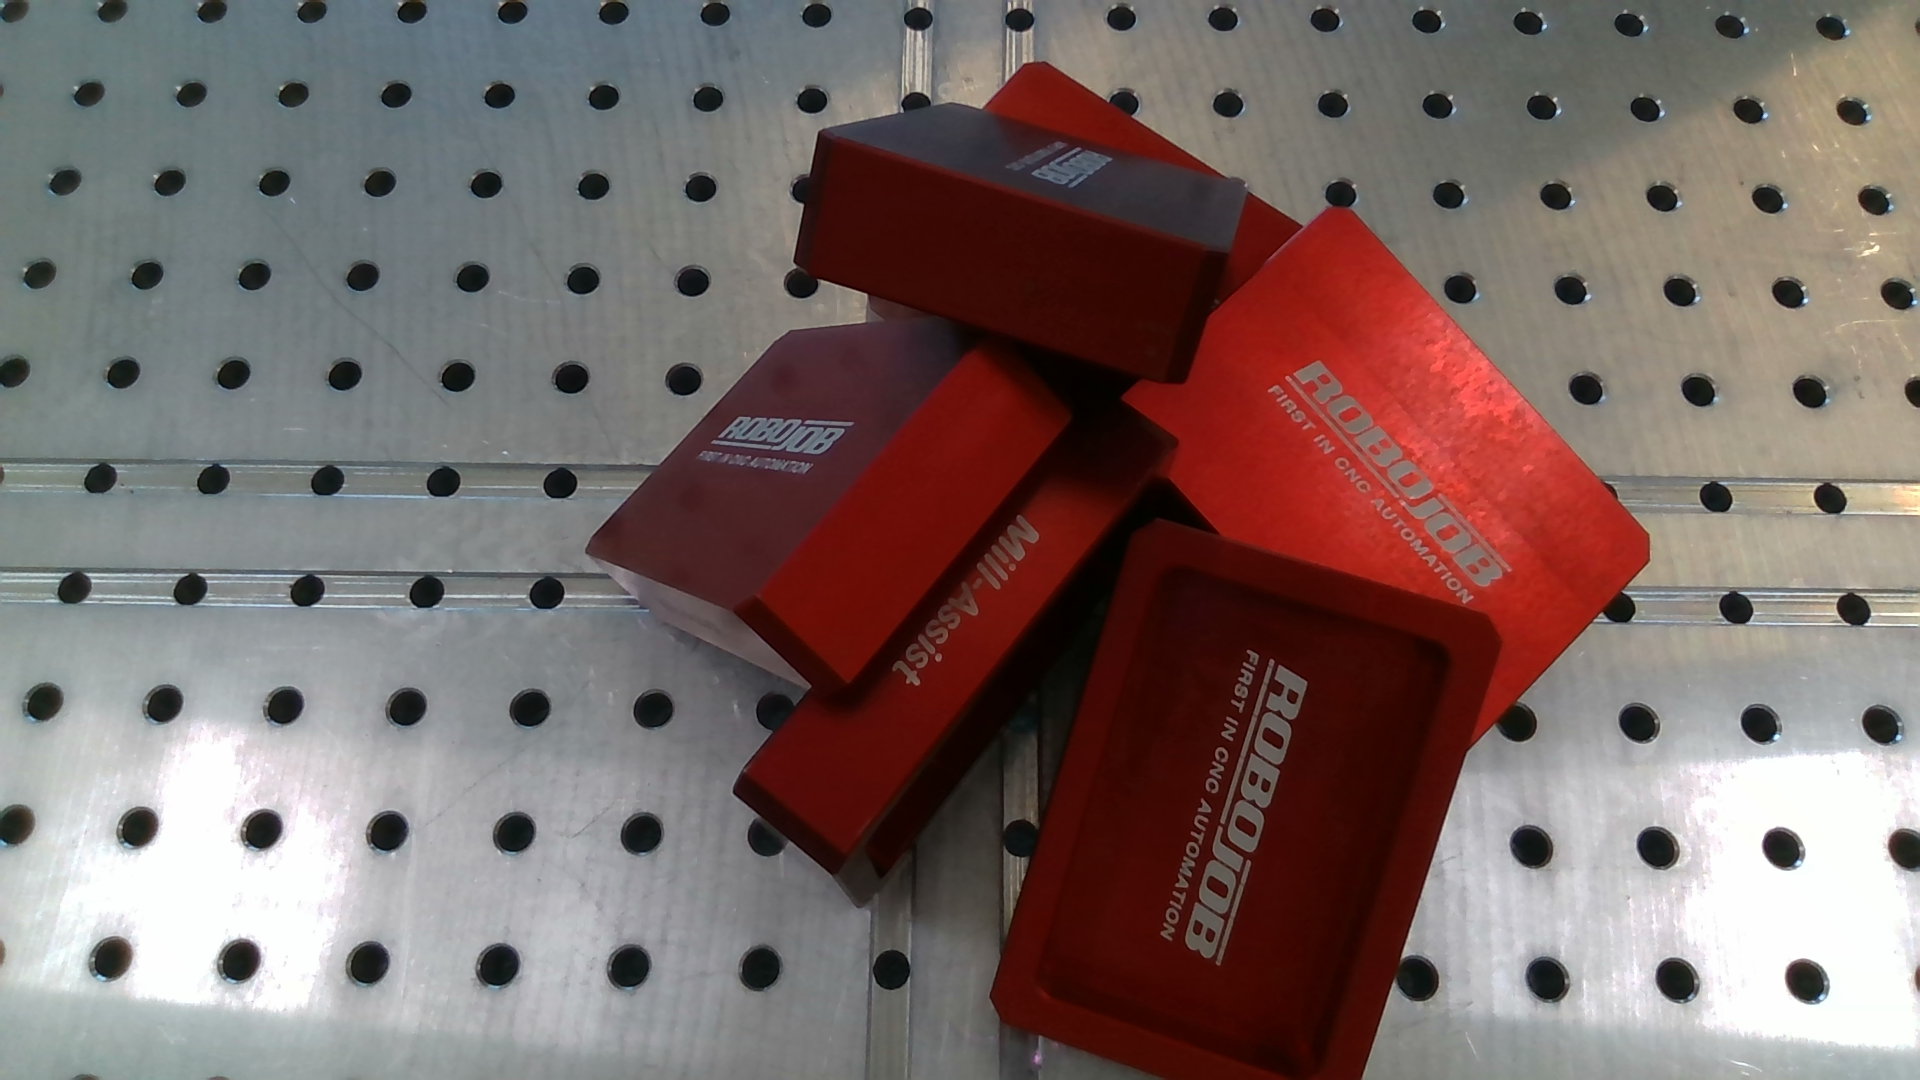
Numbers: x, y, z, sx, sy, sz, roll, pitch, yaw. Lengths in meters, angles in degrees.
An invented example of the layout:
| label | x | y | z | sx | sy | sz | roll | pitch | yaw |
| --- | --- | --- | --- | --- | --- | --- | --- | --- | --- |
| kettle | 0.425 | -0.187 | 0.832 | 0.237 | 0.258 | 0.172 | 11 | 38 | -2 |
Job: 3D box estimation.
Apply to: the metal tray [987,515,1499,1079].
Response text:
| label | x | y | z | sx | sy | sz | roll | pitch | yaw |
| --- | --- | --- | --- | --- | --- | --- | --- | --- | --- |
| metal tray | 0.068 | 0.067 | 0.345 | 0.090 | 0.030 | 0.130 | 17 | 94 | 6 |

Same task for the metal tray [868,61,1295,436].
| label | x | y | z | sx | sy | sz | roll | pitch | yaw |
| --- | --- | --- | --- | --- | --- | --- | --- | --- | --- |
| metal tray | 0.046 | -0.078 | 0.423 | 0.130 | 0.030 | 0.090 | 37 | 75 | 12 |

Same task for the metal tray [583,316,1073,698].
| label | x | y | z | sx | sy | sz | roll | pitch | yaw |
| --- | --- | --- | --- | --- | --- | --- | --- | --- | --- |
| metal tray | -0.040 | -0.015 | 0.352 | 0.090 | 0.130 | 0.030 | -50 | 116 | -15 |

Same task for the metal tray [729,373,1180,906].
| label | x | y | z | sx | sy | sz | roll | pitch | yaw |
| --- | --- | --- | --- | --- | --- | --- | --- | --- | --- |
| metal tray | 0.001 | 0.029 | 0.352 | 0.030 | 0.090 | 0.130 | 37 | 74 | 12 |

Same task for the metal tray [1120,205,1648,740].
| label | x | y | z | sx | sy | sz | roll | pitch | yaw |
| --- | --- | --- | --- | --- | --- | --- | --- | --- | --- |
| metal tray | 0.112 | -0.015 | 0.381 | 0.090 | 0.030 | 0.130 | -42 | 90 | -10 |

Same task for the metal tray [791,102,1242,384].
| label | x | y | z | sx | sy | sz | roll | pitch | yaw |
| --- | --- | --- | --- | --- | --- | --- | --- | --- | --- |
| metal tray | 0.022 | -0.080 | 0.346 | 0.090 | 0.130 | 0.030 | 18 | 113 | 6 |
